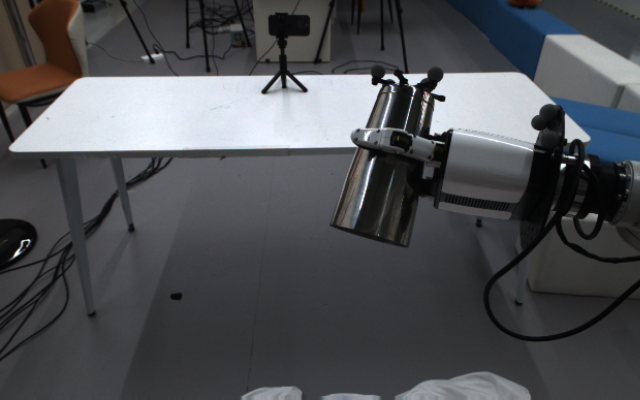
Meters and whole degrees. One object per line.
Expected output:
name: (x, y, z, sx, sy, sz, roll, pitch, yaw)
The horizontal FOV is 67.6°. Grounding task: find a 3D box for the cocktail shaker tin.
cocktail shaker tin: (0.078, -0.041, 0.553, 0.093, 0.170, 0.093, 16, -6, 2)
